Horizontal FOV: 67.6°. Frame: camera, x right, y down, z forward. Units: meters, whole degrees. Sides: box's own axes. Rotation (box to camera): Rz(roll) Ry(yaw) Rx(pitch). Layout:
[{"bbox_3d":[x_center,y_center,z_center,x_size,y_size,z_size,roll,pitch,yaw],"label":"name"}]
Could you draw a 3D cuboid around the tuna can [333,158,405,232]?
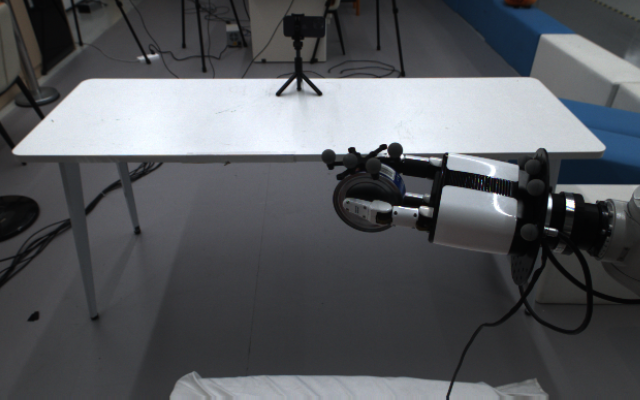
[{"bbox_3d":[0.063,-0.005,0.592,0.085,0.085,0.034,10,33,11],"label":"tuna can"}]
